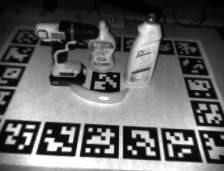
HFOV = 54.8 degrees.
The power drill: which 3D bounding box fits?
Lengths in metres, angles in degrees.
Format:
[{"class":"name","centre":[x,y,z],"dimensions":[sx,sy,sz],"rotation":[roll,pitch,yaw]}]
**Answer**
[{"class":"power drill","centre":[-0.138,-0.108,0.674],"dimensions":[0.185,0.187,0.057],"rotation":[2,43,-7]}]

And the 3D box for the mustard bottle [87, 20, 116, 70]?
[{"class":"mustard bottle","centre":[-0.036,-0.136,0.733],"dimensions":[0.096,0.192,0.058],"rotation":[4,49,-3]}]

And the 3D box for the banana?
[{"class":"banana","centre":[-0.039,0.021,0.698],"dimensions":[0.197,0.039,0.074],"rotation":[5,54,0]}]

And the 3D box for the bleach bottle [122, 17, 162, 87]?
[{"class":"bleach bottle","centre":[0.093,-0.099,0.687],"dimensions":[0.103,0.252,0.067],"rotation":[-4,51,-7]}]
